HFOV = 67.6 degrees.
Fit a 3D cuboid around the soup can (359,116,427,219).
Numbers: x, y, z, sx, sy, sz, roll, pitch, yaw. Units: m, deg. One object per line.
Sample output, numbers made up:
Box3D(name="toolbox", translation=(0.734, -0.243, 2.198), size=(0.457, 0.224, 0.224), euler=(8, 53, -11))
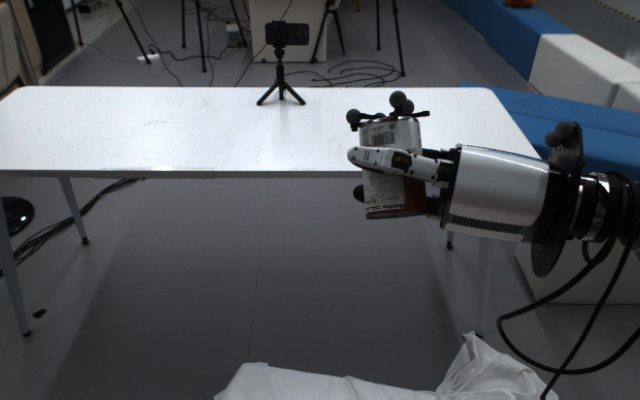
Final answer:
Box3D(name="soup can", translation=(0.080, -0.033, 0.524), size=(0.067, 0.101, 0.067), euler=(-5, -5, 0))
